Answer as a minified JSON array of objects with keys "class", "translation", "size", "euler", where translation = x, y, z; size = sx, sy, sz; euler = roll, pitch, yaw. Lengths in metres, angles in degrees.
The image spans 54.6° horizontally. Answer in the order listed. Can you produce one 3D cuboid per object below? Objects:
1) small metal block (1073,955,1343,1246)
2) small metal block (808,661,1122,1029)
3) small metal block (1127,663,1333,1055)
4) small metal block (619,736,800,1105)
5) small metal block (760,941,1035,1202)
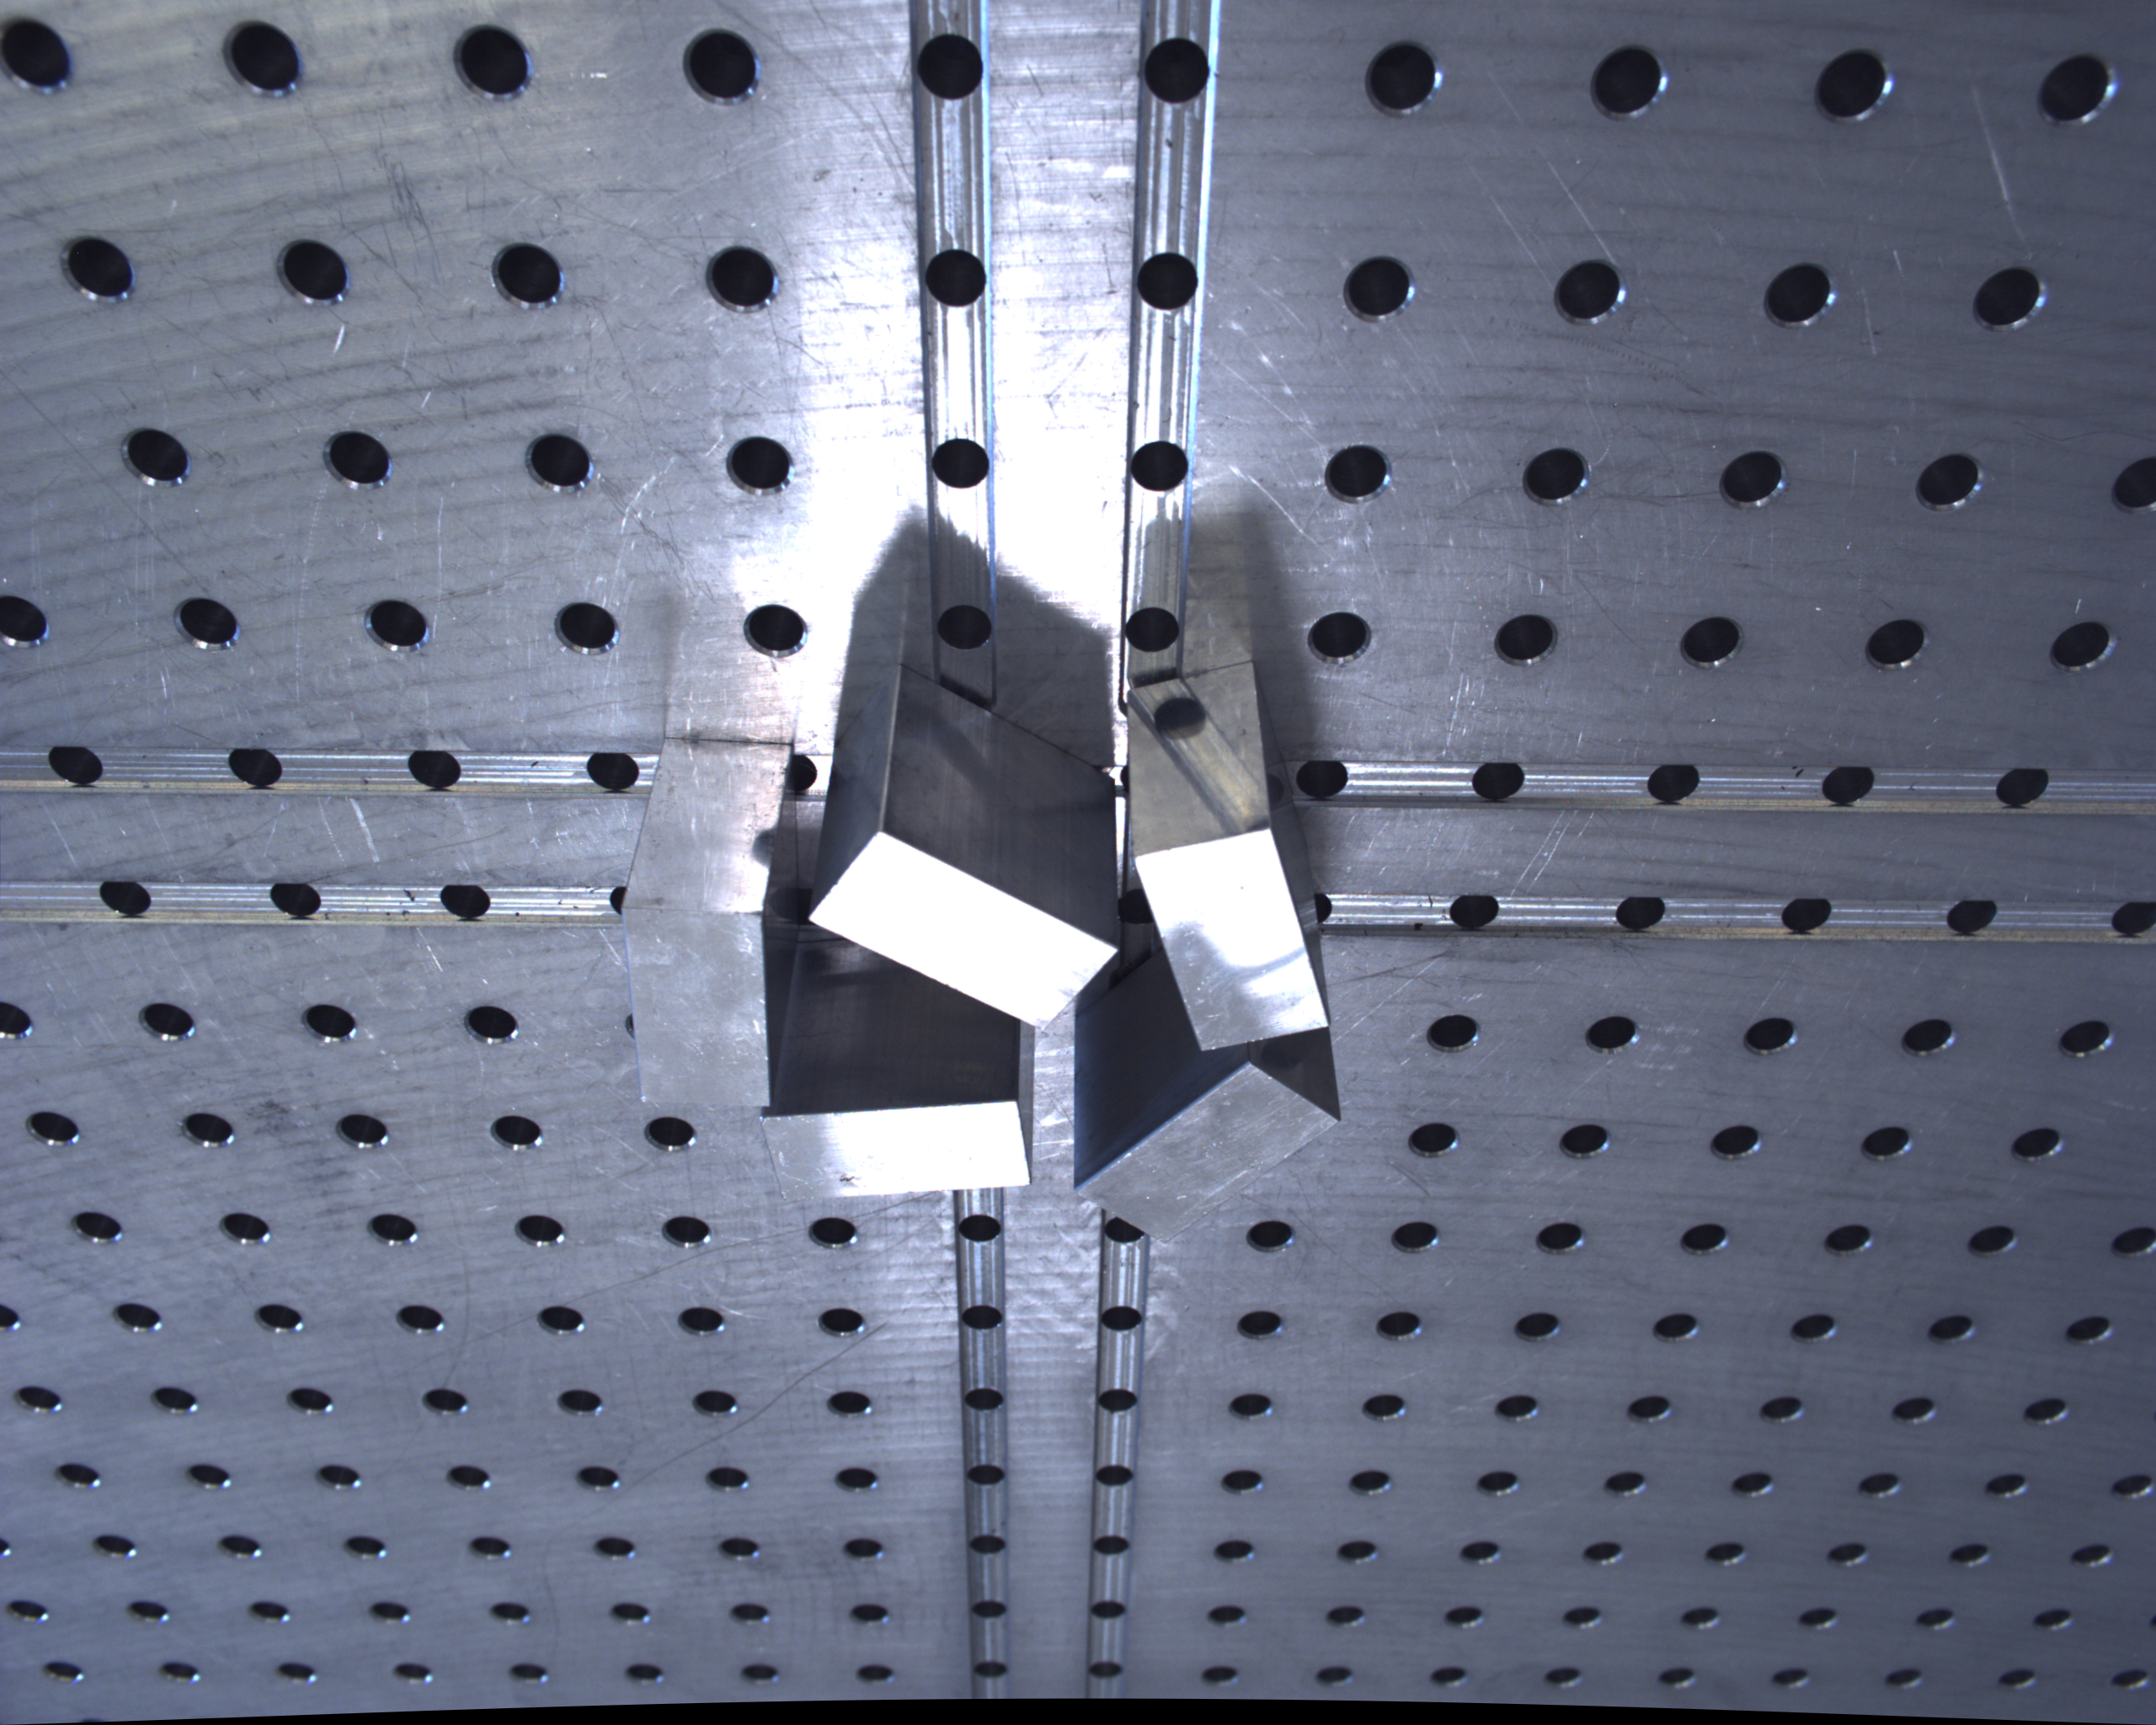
[{"class":"small metal block","translation":[0.026,0.042,0.430],"size":[0.025,0.050,0.050],"euler":[35,122,-25]},{"class":"small metal block","translation":[-0.020,-0.004,0.392],"size":[0.050,0.050,0.025],"euler":[27,126,-21]},{"class":"small metal block","translation":[0.028,-0.001,0.394],"size":[0.025,0.050,0.050],"euler":[-13,128,10]},{"class":"small metal block","translation":[-0.070,0.011,0.404],"size":[0.025,0.050,0.050],"euler":[3,131,-2]},{"class":"small metal block","translation":[-0.035,0.041,0.429],"size":[0.050,0.050,0.025],"euler":[-4,130,3]}]
